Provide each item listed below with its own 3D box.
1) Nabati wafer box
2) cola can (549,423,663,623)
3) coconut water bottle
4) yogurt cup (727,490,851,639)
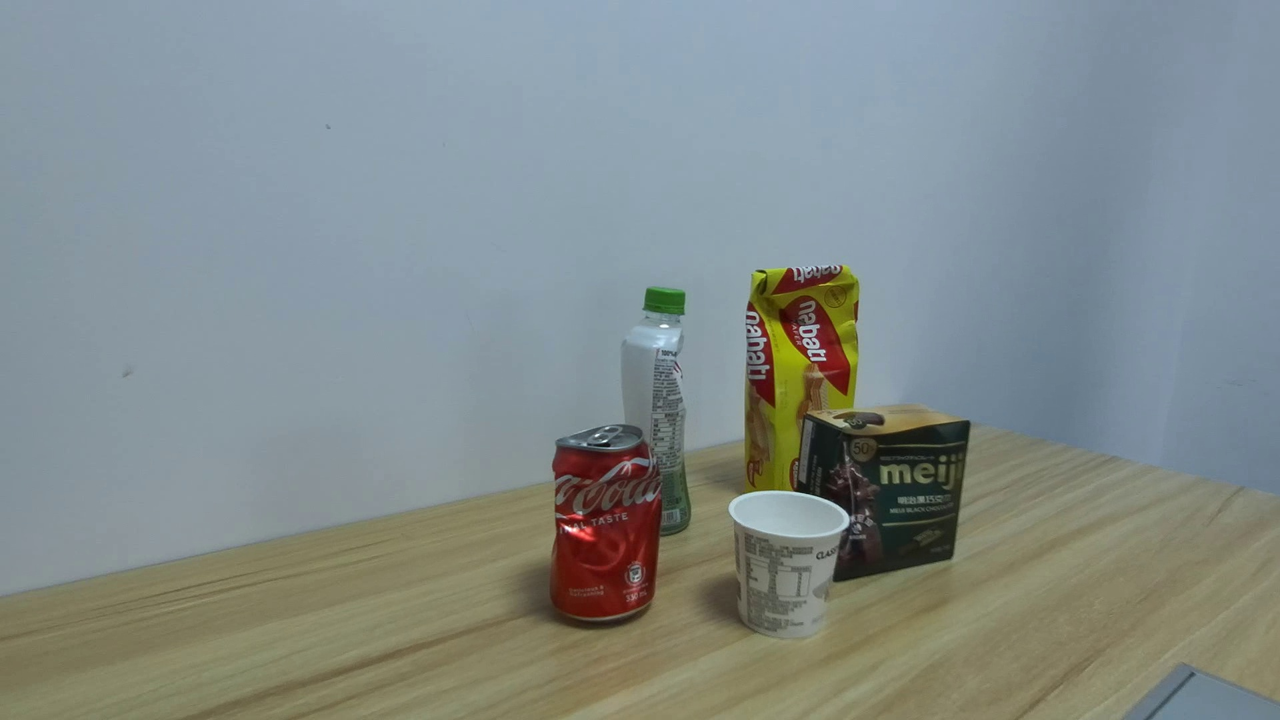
[{"bbox_3d":[0.141,0.022,0.617,0.114,0.205,0.042,-6,12,-32],"label":"Nabati wafer box"},{"bbox_3d":[-0.021,0.099,0.435,0.069,0.112,0.065,-1,11,-14],"label":"cola can"},{"bbox_3d":[0.013,0.037,0.552,0.069,0.186,0.069,2,9,0],"label":"coconut water bottle"},{"bbox_3d":[0.087,0.124,0.429,0.072,0.068,0.072,1,11,0],"label":"yogurt cup"}]
